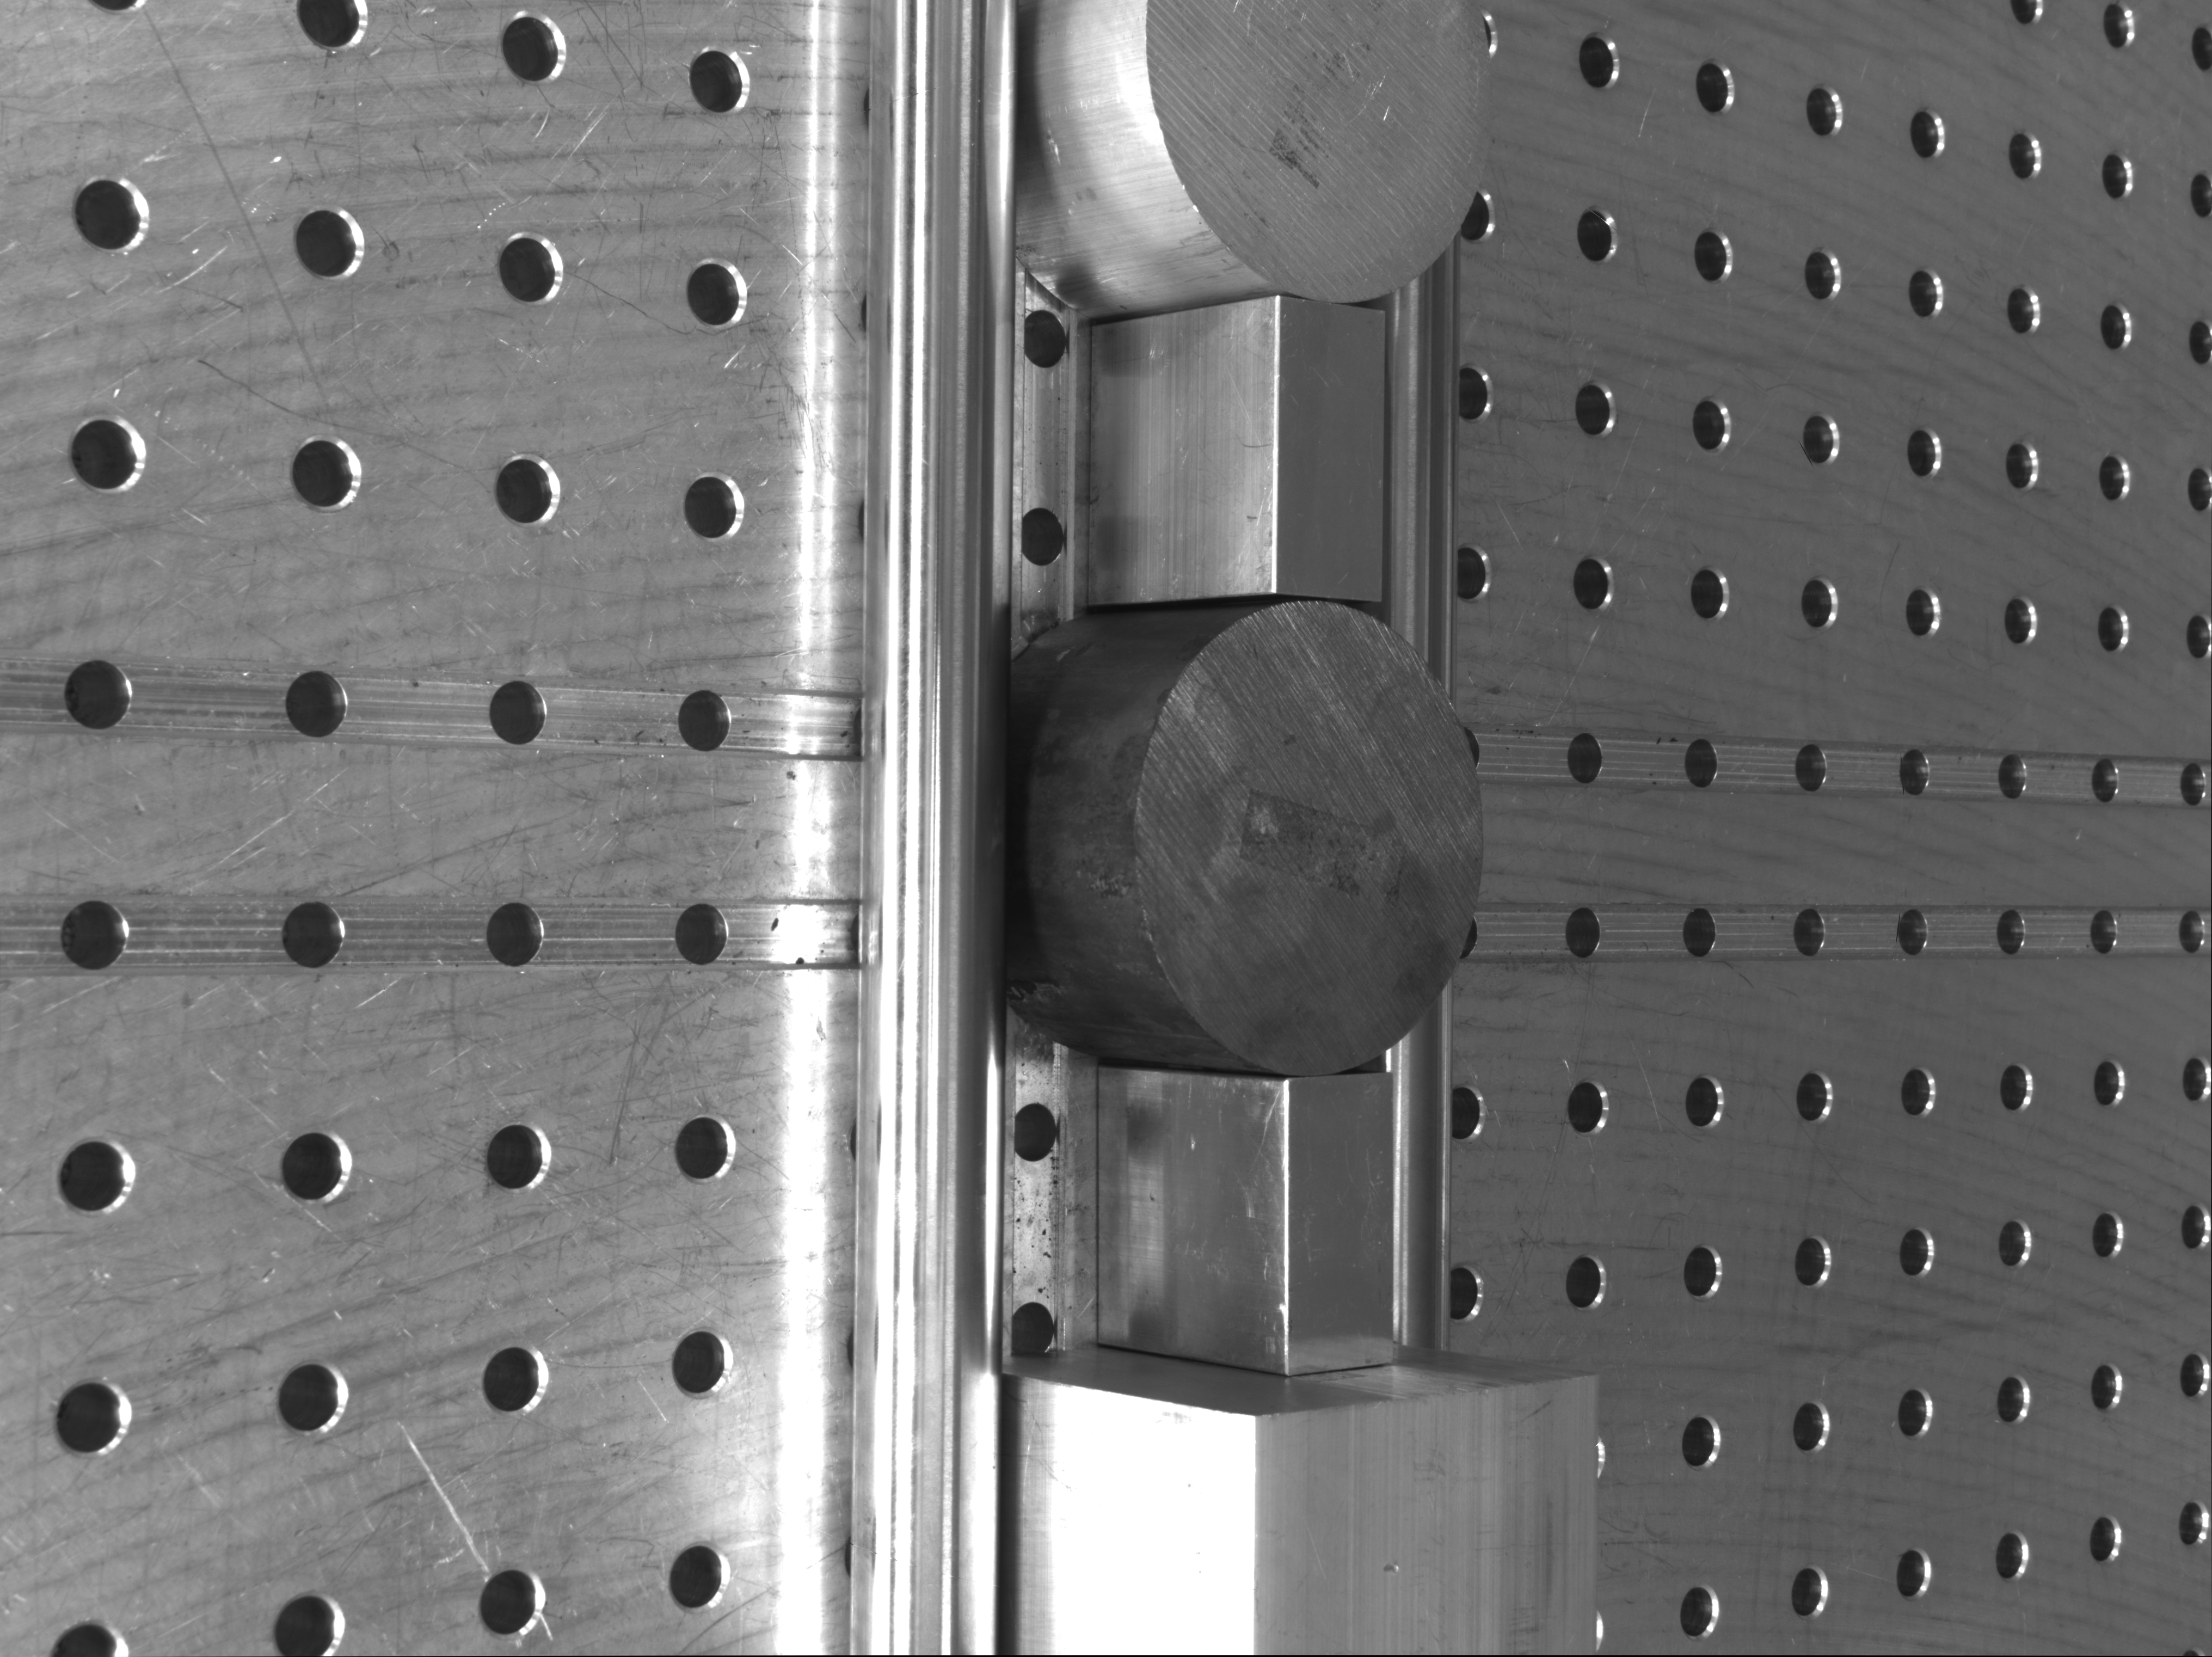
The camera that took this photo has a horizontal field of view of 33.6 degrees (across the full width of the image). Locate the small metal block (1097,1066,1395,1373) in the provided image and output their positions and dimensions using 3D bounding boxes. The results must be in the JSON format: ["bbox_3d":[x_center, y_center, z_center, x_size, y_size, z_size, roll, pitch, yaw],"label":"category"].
[{"bbox_3d":[0.024,0.067,0.641,0.025,0.050,0.050,0,90,-40],"label":"small metal block"}]

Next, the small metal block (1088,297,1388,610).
[{"bbox_3d":[0.023,-0.064,0.640,0.025,0.050,0.050,1,89,-40],"label":"small metal block"}]

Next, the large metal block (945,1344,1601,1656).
[{"bbox_3d":[0.027,0.117,0.626,0.080,0.080,0.050,1,89,-40],"label":"large metal block"}]

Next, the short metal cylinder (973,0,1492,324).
[{"bbox_3d":[0.021,-0.129,0.640,0.080,0.050,0.080,0,90,-40],"label":"short metal cylinder"}]

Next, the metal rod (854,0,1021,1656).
[{"bbox_3d":[-0.028,-0.005,0.614,0.025,0.025,0.300,1,89,-40],"label":"metal rod"}]

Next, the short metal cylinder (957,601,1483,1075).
[{"bbox_3d":[0.020,0.002,0.638,0.080,0.050,0.080,0,90,-40],"label":"short metal cylinder"}]

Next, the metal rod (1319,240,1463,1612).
[{"bbox_3d":[0.053,-0.004,0.681,0.025,0.025,0.300,1,89,-40],"label":"metal rod"}]
